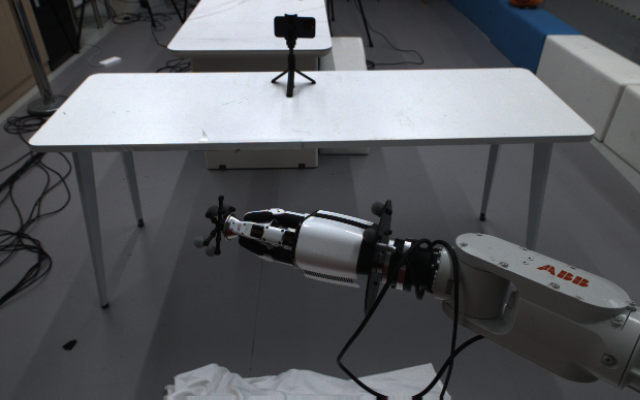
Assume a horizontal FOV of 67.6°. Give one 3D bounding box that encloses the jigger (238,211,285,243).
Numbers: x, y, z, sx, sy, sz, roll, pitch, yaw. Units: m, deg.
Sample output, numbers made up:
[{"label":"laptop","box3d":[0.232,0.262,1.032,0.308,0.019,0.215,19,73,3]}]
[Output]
[{"label":"jigger","box3d":[-0.092,0.040,0.690,0.071,0.043,0.043,8,35,15]}]
